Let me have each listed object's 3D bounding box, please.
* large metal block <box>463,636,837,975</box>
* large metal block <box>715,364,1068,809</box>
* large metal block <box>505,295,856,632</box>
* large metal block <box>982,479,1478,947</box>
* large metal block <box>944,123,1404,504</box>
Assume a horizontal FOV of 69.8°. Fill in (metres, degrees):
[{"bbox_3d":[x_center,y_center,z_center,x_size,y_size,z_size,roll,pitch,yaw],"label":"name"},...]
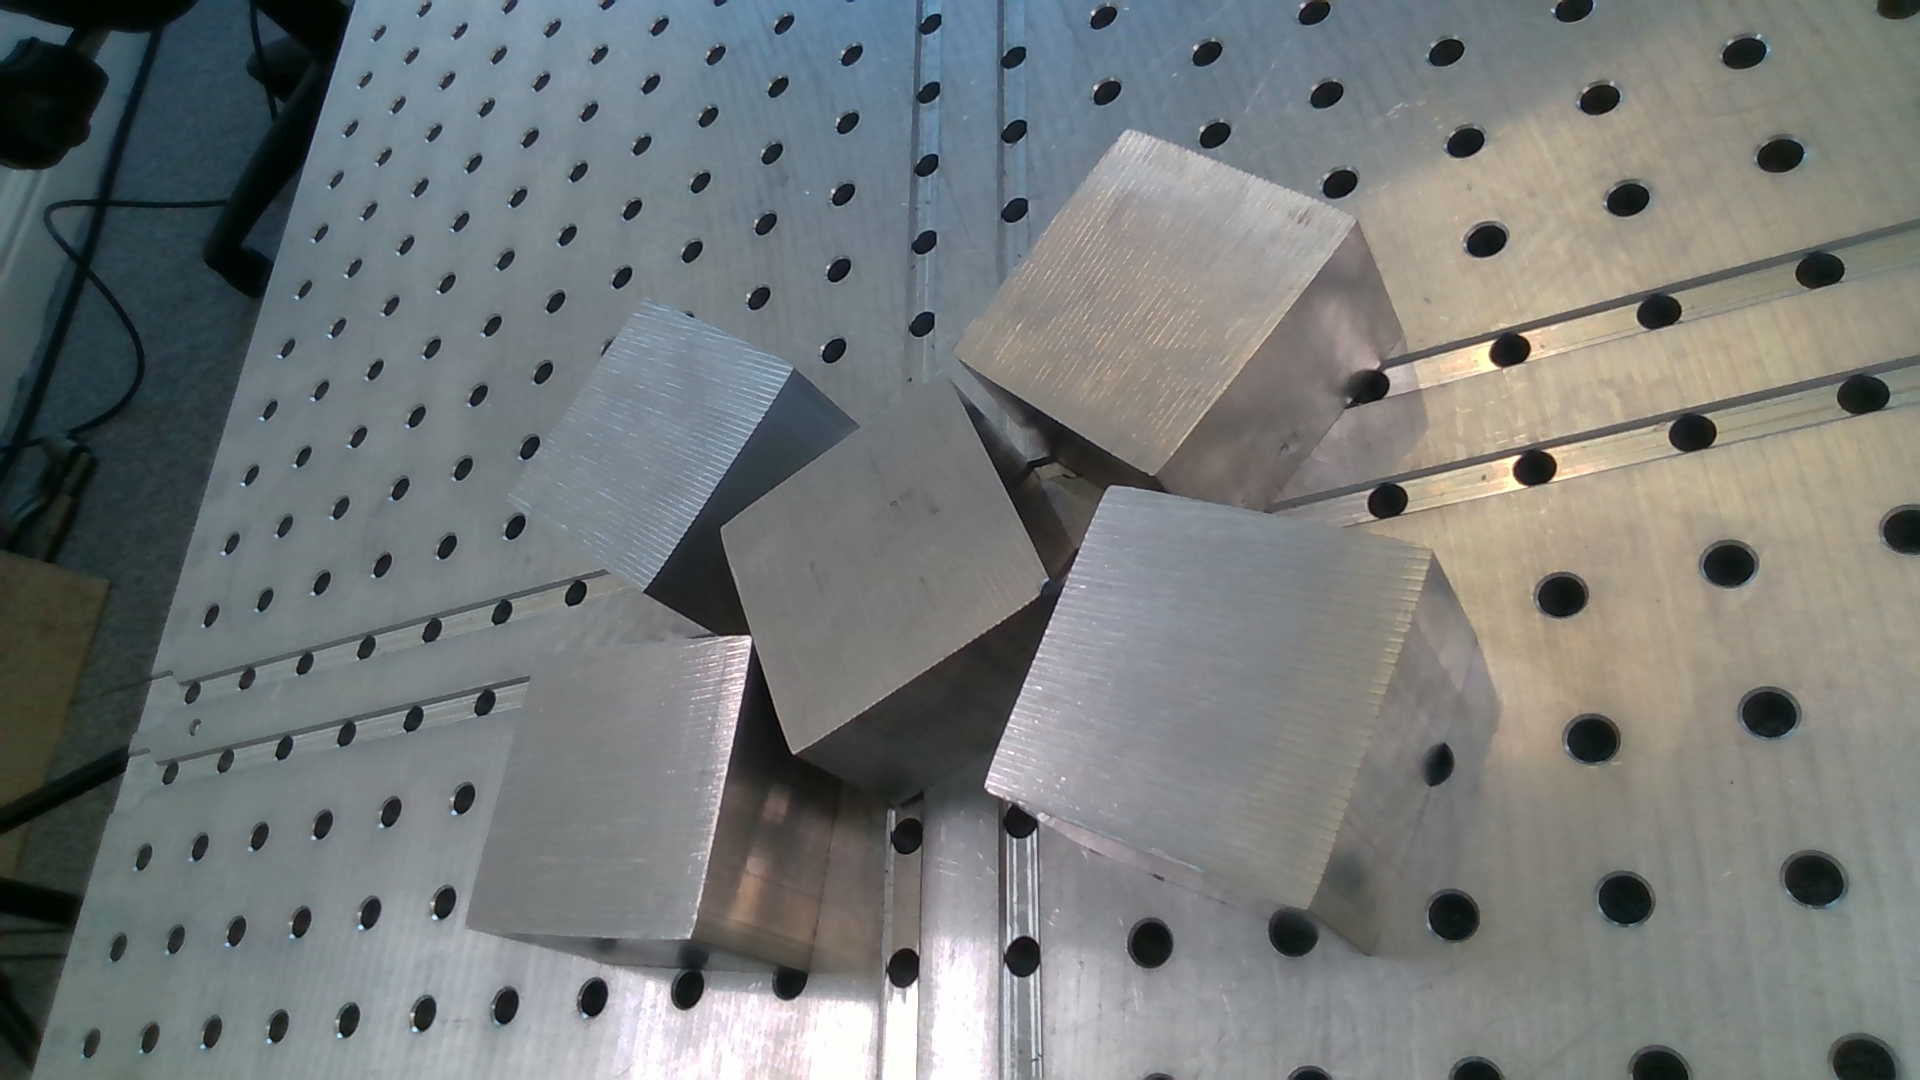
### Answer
[{"bbox_3d":[-0.084,0.076,0.391,0.080,0.050,0.080,-6,63,29],"label":"large metal block"},{"bbox_3d":[-0.012,0.013,0.379,0.080,0.050,0.080,-34,52,12],"label":"large metal block"},{"bbox_3d":[-0.085,-0.022,0.442,0.080,0.050,0.080,27,81,38],"label":"large metal block"},{"bbox_3d":[0.063,0.038,0.319,0.080,0.050,0.080,13,76,36],"label":"large metal block"},{"bbox_3d":[0.057,-0.055,0.373,0.080,0.050,0.080,-51,50,-2],"label":"large metal block"}]
